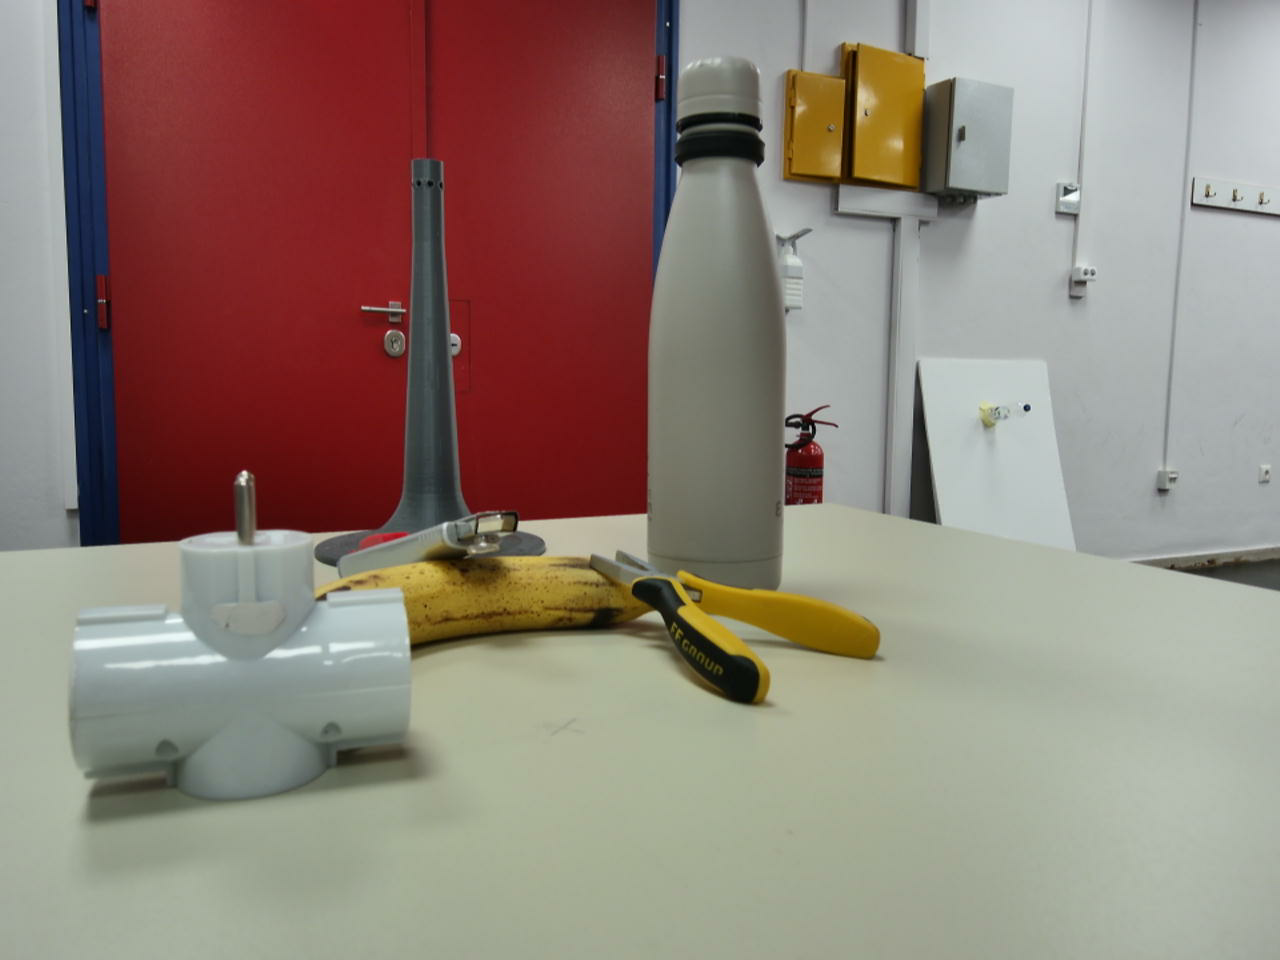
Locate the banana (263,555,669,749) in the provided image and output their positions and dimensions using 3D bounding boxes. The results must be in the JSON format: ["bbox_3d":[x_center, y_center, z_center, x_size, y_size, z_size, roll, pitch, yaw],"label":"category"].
[{"bbox_3d":[-0.077,0.057,0.420,0.097,0.038,0.186,3,5,36],"label":"banana"}]
